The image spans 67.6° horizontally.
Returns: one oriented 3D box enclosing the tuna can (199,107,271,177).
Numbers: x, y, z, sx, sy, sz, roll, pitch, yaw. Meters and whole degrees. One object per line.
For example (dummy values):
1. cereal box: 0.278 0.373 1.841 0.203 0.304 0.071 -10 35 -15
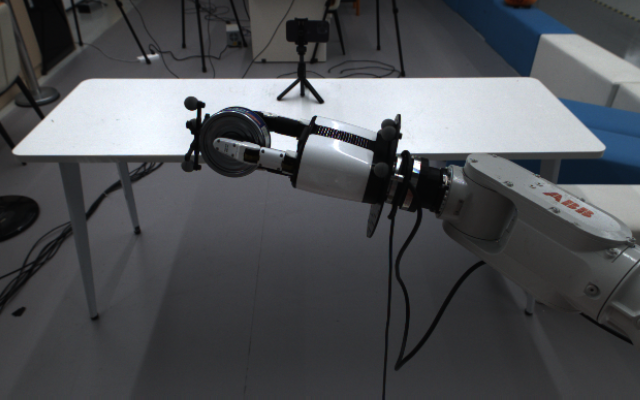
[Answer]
1. tuna can: -0.105 -0.073 0.609 0.085 0.085 0.034 4 18 3
